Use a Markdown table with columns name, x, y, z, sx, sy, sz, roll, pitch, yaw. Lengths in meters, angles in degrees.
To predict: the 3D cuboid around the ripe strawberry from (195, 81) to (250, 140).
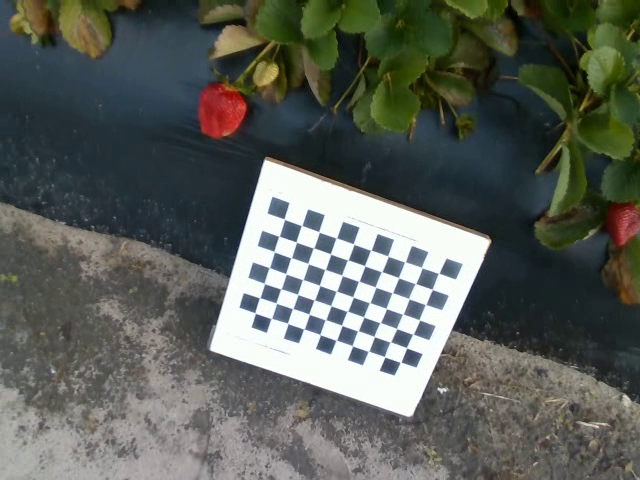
| name | x | y | z | sx | sy | sz | roll | pitch | yaw |
| --- | --- | --- | --- | --- | --- | --- | --- | --- | --- |
| ripe strawberry | -0.128 | -0.159 | 0.707 | 0.067 | 0.075 | 0.039 | 23 | 17 | 0 |
